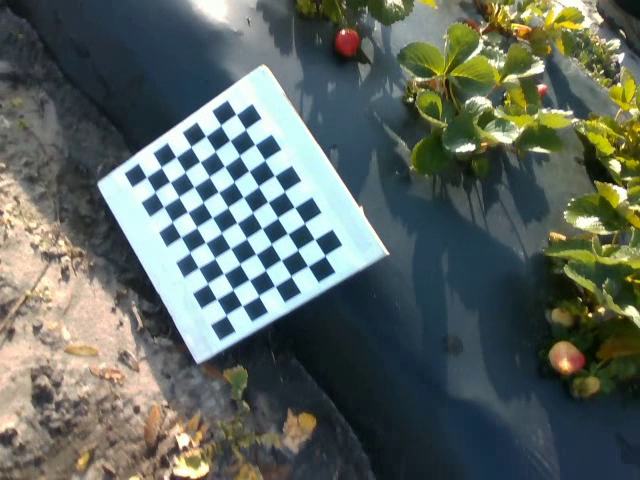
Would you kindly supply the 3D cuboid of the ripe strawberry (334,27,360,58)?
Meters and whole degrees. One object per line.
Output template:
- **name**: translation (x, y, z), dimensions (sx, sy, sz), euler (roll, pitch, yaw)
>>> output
- **ripe strawberry**: translation (0.027, -0.238, 0.876), dimensions (0.030, 0.045, 0.033), euler (-7, -41, 19)
